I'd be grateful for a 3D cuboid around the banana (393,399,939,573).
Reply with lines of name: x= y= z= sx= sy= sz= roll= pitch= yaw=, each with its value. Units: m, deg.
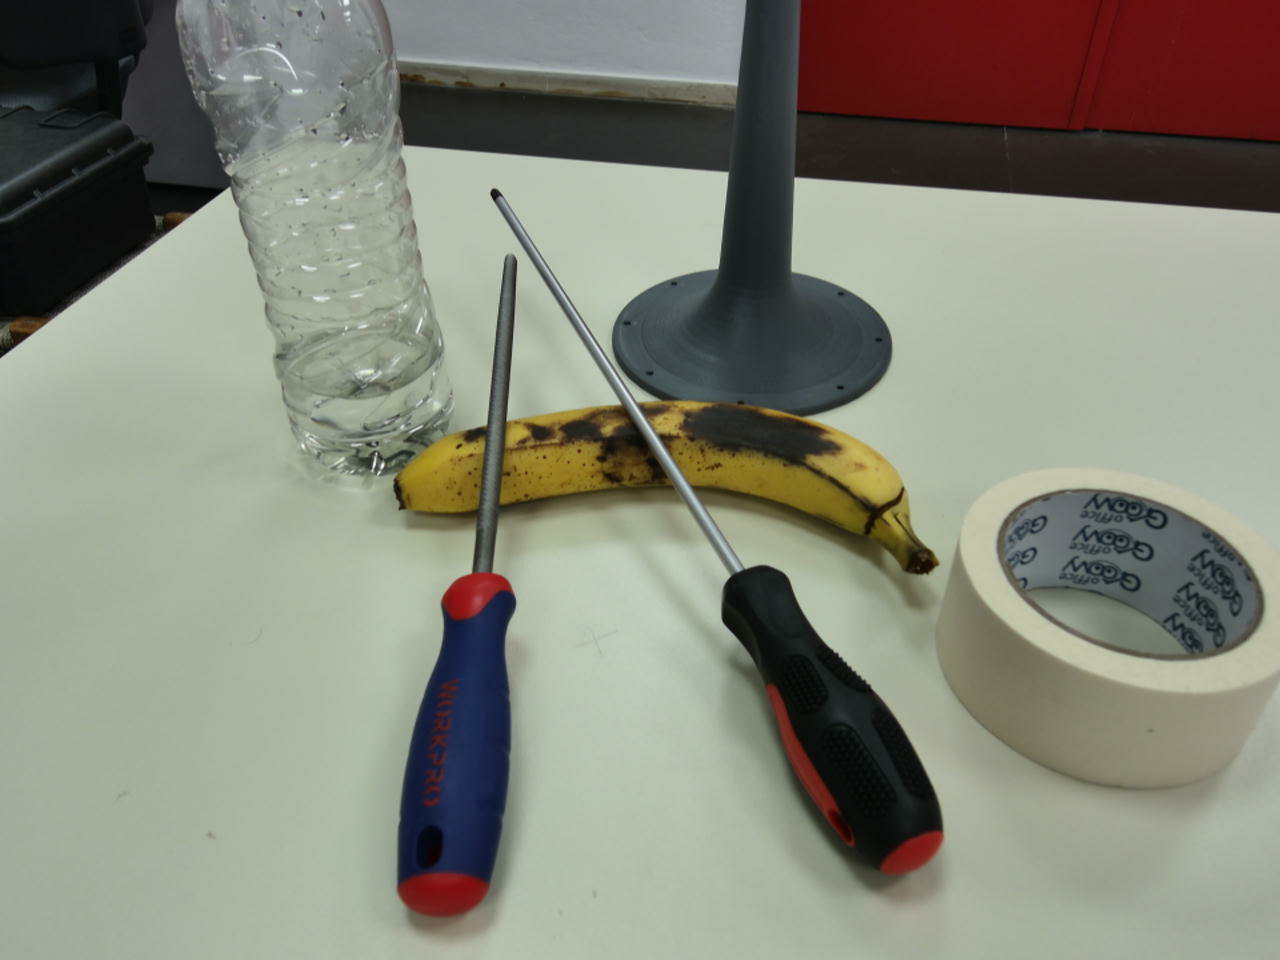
banana: x=0.012 y=-0.005 z=0.426 sx=0.222 sy=0.037 sz=0.084 roll=8 pitch=39 yaw=11
